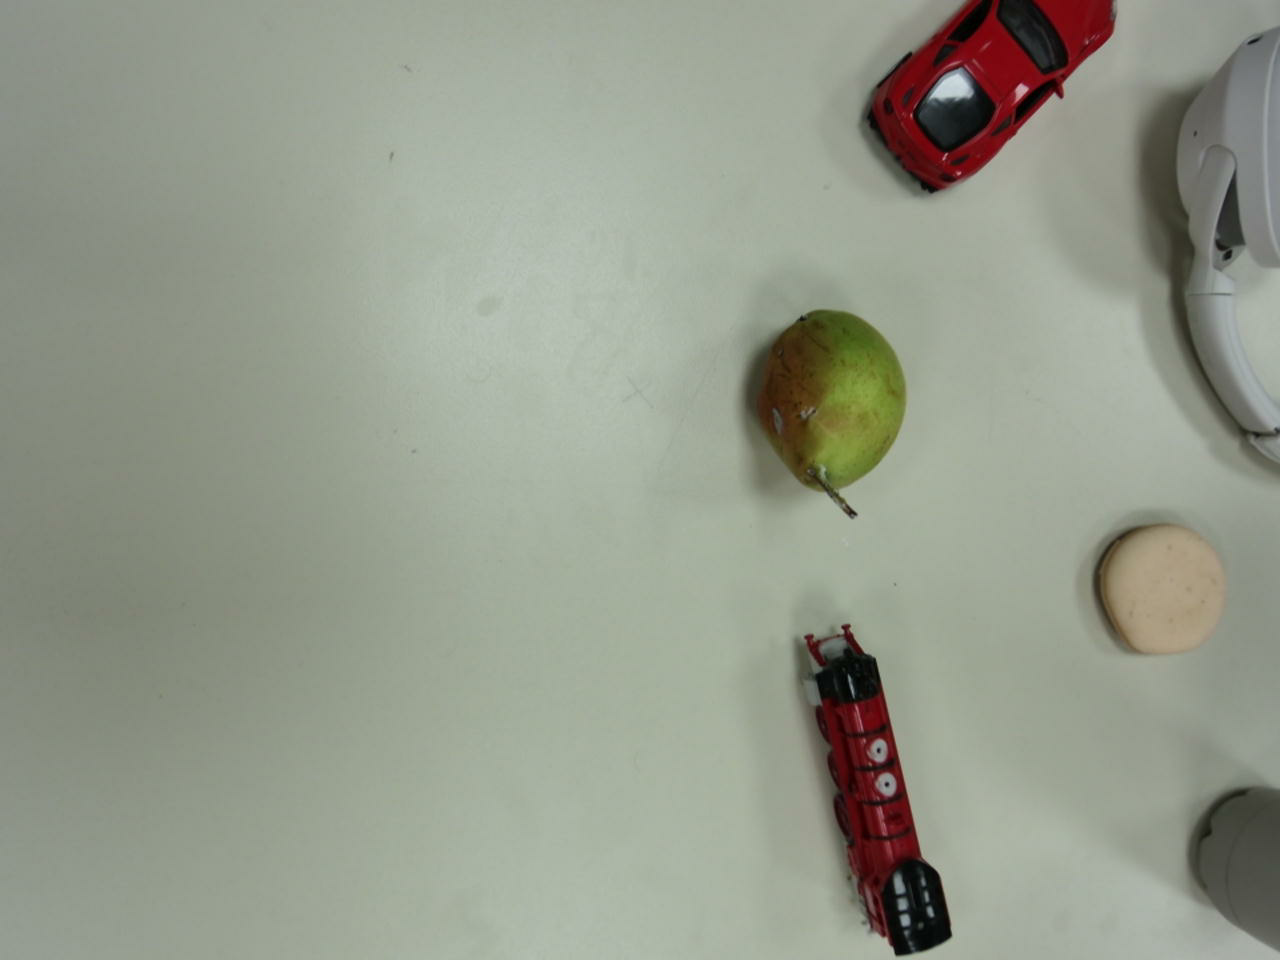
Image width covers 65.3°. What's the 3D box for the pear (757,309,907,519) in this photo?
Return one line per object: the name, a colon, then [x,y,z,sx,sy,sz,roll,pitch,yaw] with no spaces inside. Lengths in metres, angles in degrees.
pear: [0.079,-0.034,0.417,0.070,0.069,0.068,-40,98,-9]
